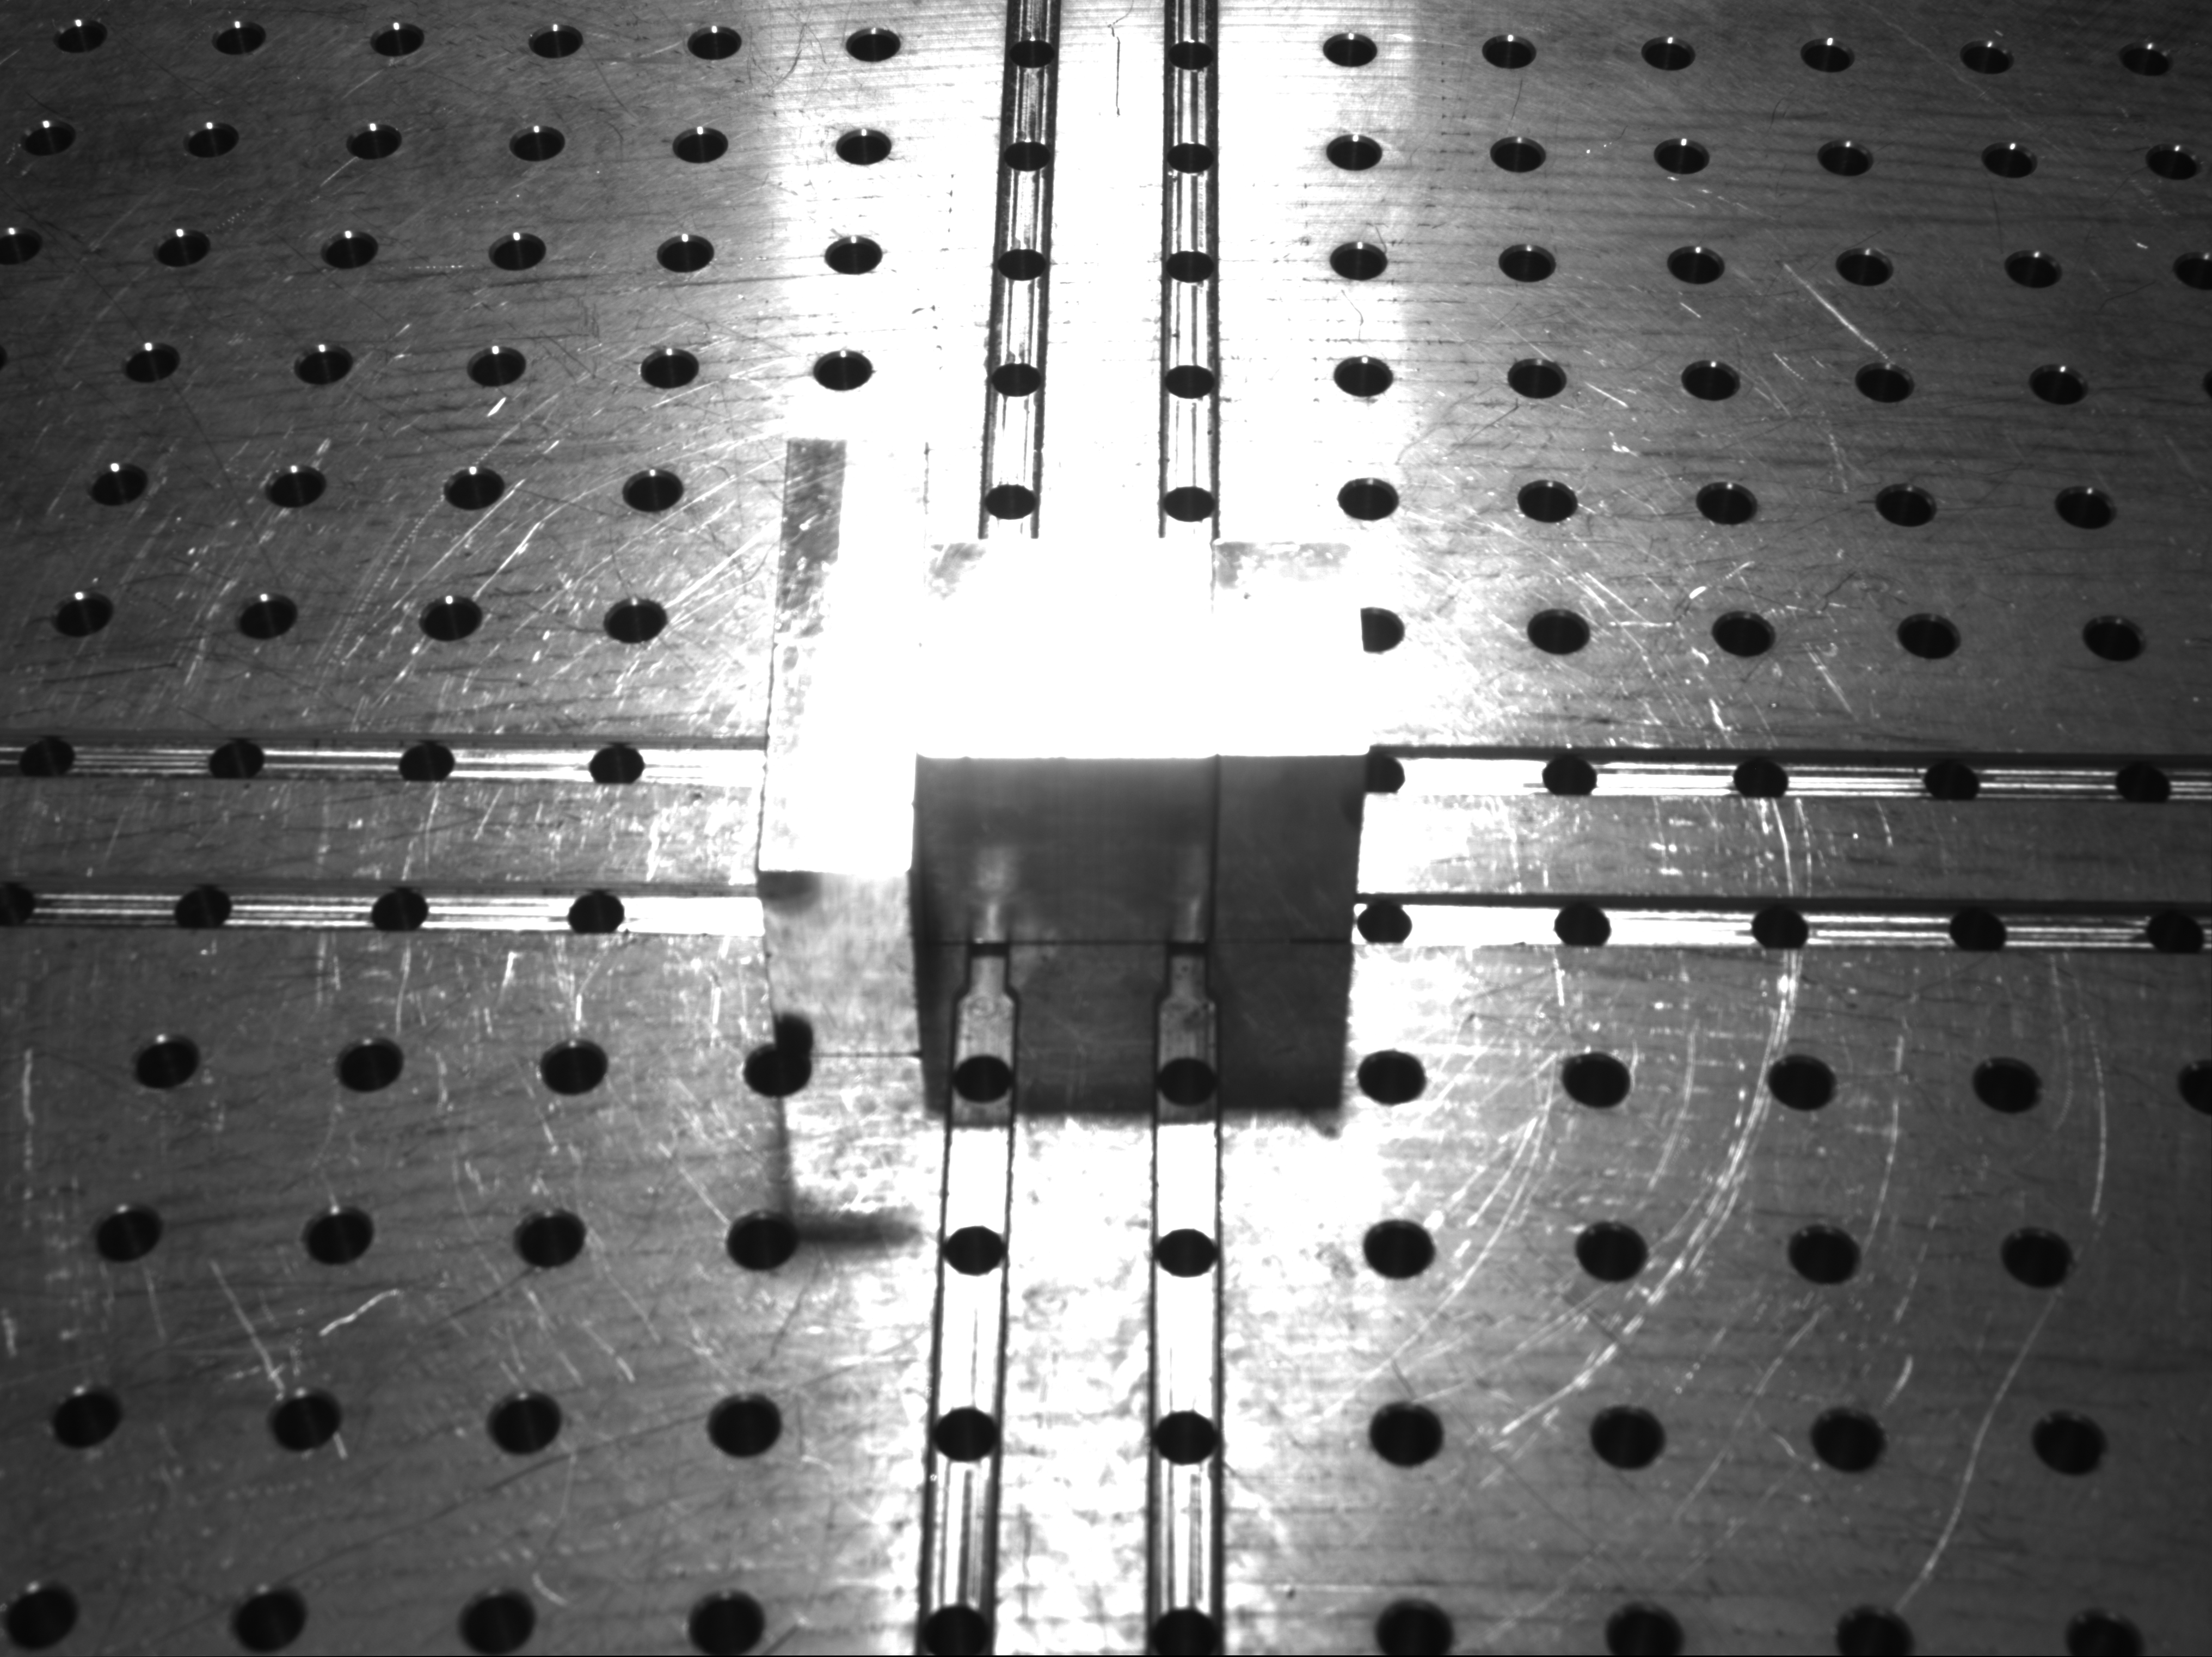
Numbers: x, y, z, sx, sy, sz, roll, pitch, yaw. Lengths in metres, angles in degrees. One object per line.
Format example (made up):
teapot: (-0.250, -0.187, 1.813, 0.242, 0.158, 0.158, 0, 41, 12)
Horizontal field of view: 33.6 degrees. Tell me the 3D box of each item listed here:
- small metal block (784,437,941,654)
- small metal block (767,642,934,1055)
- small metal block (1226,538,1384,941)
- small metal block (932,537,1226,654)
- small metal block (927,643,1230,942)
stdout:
small metal block: (-0.042, -0.035, 0.657, 0.025, 0.050, 0.050, 0, 50, 0)
small metal block: (-0.042, 0.004, 0.625, 0.025, 0.050, 0.050, 0, 50, 0)
small metal block: (0.034, -0.015, 0.641, 0.025, 0.050, 0.050, 0, 50, 0)
small metal block: (-0.004, -0.025, 0.649, 0.050, 0.050, 0.025, 0, 50, 0)
small metal block: (-0.004, -0.006, 0.633, 0.050, 0.050, 0.025, 0, 50, 0)
